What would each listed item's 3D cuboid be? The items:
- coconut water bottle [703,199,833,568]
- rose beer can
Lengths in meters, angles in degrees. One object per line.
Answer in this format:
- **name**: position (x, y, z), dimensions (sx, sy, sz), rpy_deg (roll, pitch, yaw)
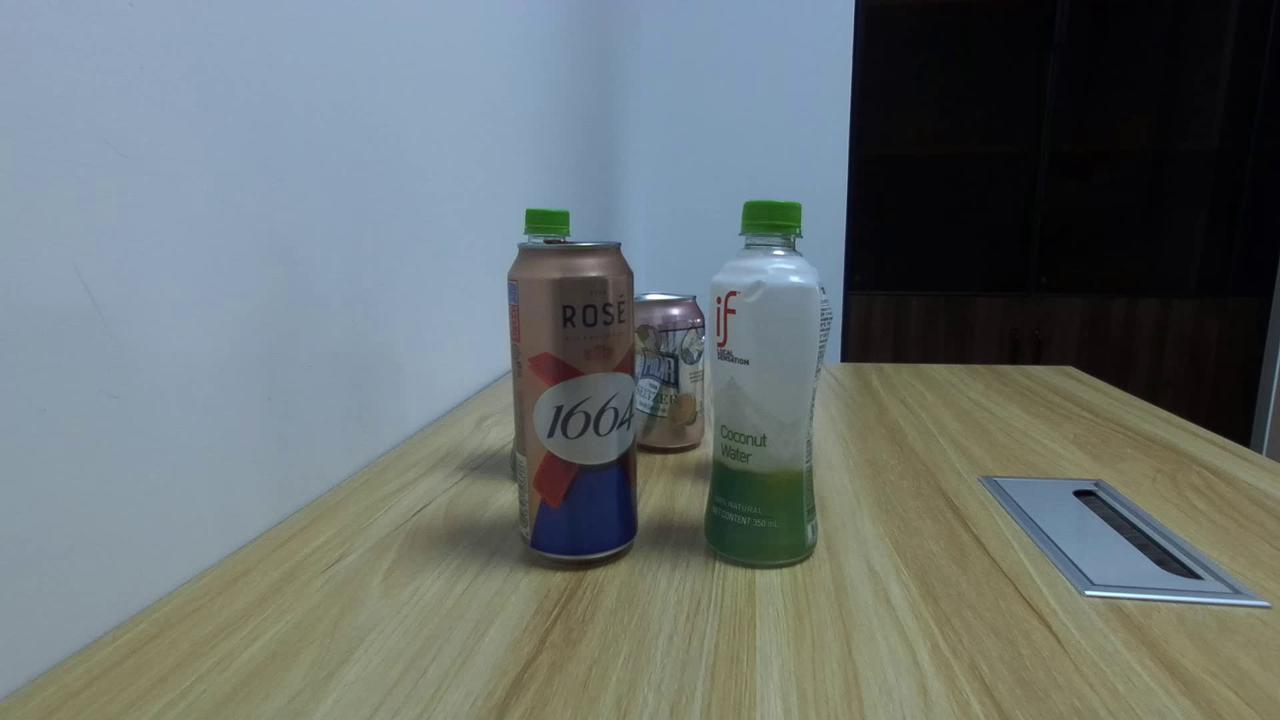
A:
- **coconut water bottle**: position (0.067, 0.011, 0.380), dimensions (0.069, 0.186, 0.069), rpy_deg (-1, 9, 0)
- **rose beer can**: position (-0.035, 0.023, 0.388), dimensions (0.068, 0.169, 0.068), rpy_deg (-1, 10, 1)
